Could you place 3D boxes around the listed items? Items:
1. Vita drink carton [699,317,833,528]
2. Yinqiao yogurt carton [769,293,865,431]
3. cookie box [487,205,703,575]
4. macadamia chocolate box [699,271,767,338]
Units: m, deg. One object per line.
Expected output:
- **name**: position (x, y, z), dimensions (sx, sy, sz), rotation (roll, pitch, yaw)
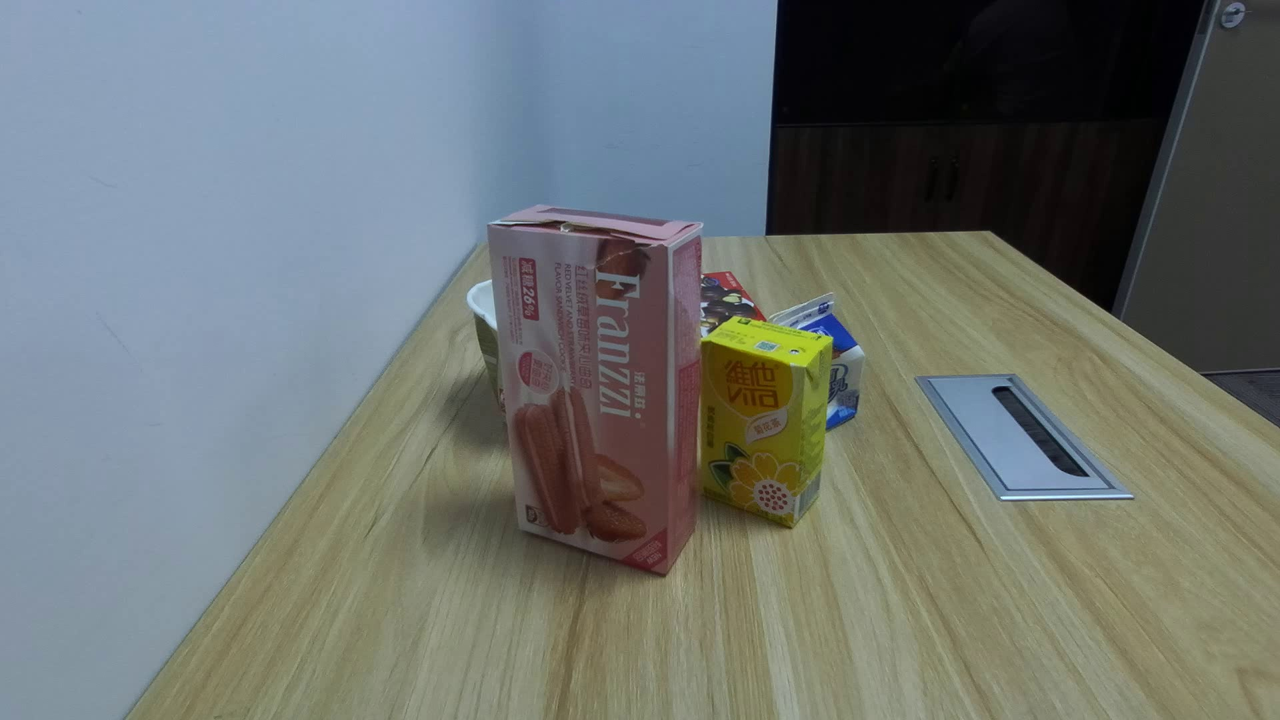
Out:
- **Vita drink carton**: position (0.072, 0.036, 0.417), dimensions (0.066, 0.109, 0.044), rotation (15, 32, 31)
- **Yinqiao yogurt carton**: position (0.111, 0.001, 0.504), dimensions (0.078, 0.094, 0.070), rotation (-21, 38, -30)
- **cookie box**: position (-0.016, 0.016, 0.375), dimensions (0.105, 0.187, 0.049), rotation (10, 28, 23)
- **macadamia chocolate box**: position (0.061, -0.036, 0.653), dimensions (0.096, 0.027, 0.177), rotation (-6, 26, -5)
